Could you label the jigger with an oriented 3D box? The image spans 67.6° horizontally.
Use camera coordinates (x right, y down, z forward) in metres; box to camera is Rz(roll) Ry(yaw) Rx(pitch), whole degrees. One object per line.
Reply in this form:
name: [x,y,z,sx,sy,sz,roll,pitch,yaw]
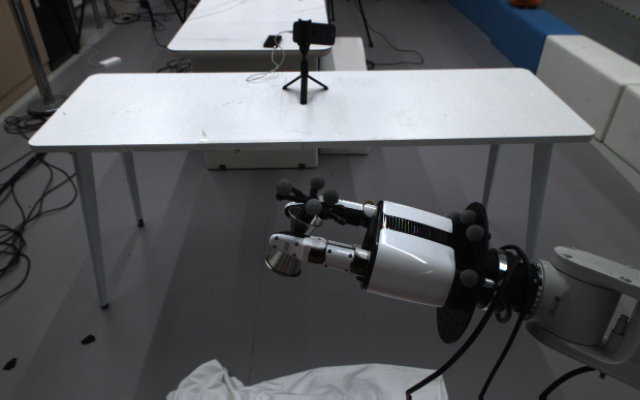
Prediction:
jigger: [-0.029,0.046,0.540,0.043,0.071,0.043,23,19,-8]
